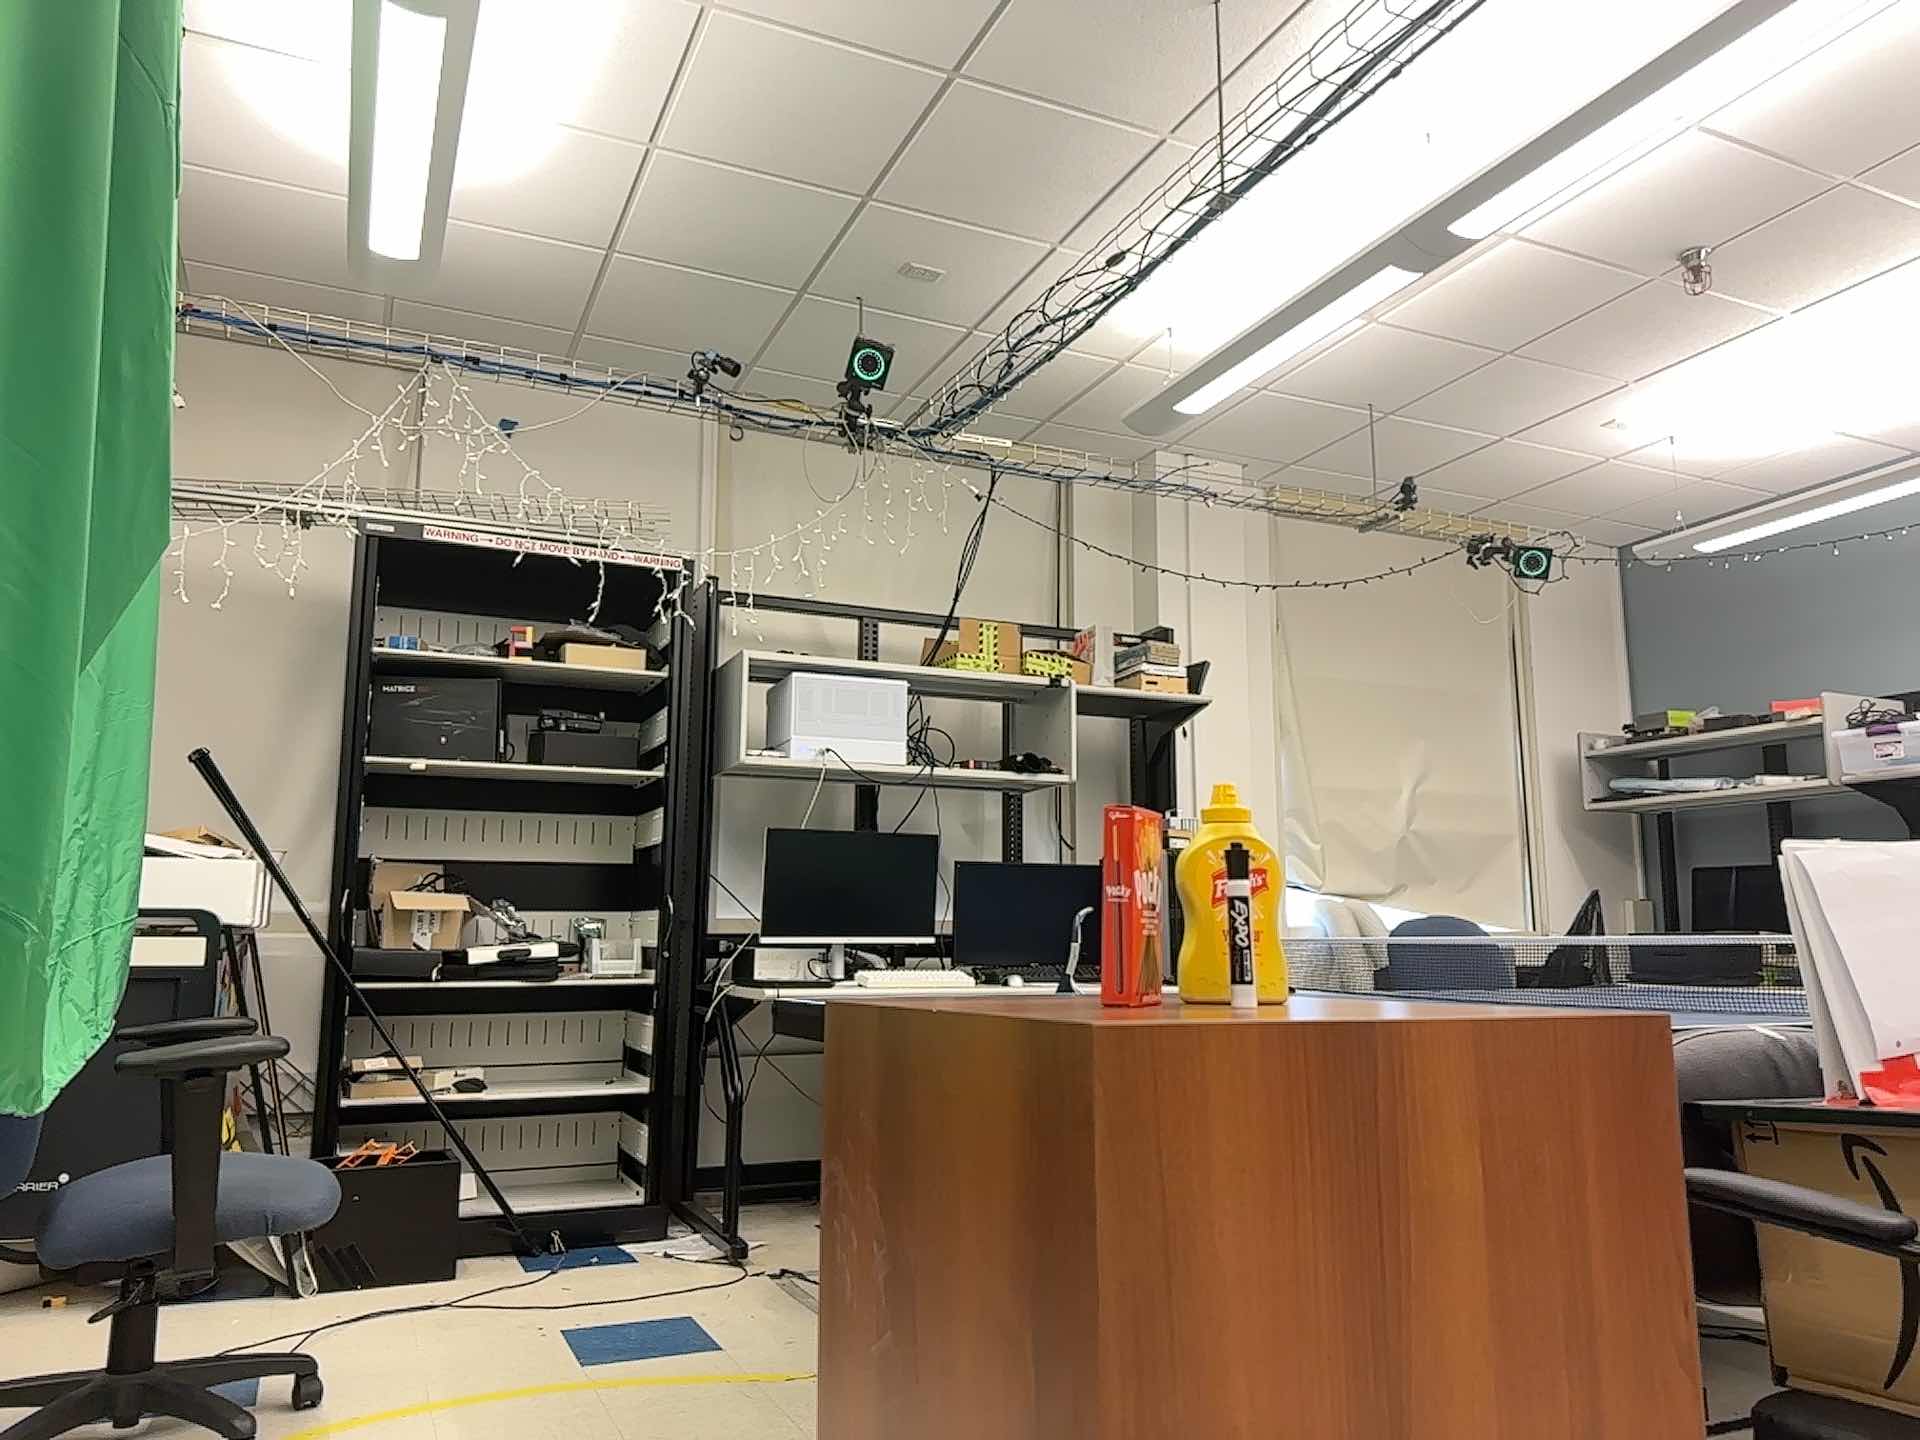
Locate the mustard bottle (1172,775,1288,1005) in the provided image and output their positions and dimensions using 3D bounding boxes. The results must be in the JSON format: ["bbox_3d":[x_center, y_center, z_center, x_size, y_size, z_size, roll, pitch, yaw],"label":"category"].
[{"bbox_3d":[0.217,0.137,1.099,0.092,0.184,0.054,0,-8,-5],"label":"mustard bottle"}]

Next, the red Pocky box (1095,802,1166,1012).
[{"bbox_3d":[0.130,0.142,1.028,0.028,0.155,0.083,-4,-8,29],"label":"red Pocky box"}]

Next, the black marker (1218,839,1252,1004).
[{"bbox_3d":[0.205,0.149,1.003,0.020,0.121,0.020,0,-12,0],"label":"black marker"}]
